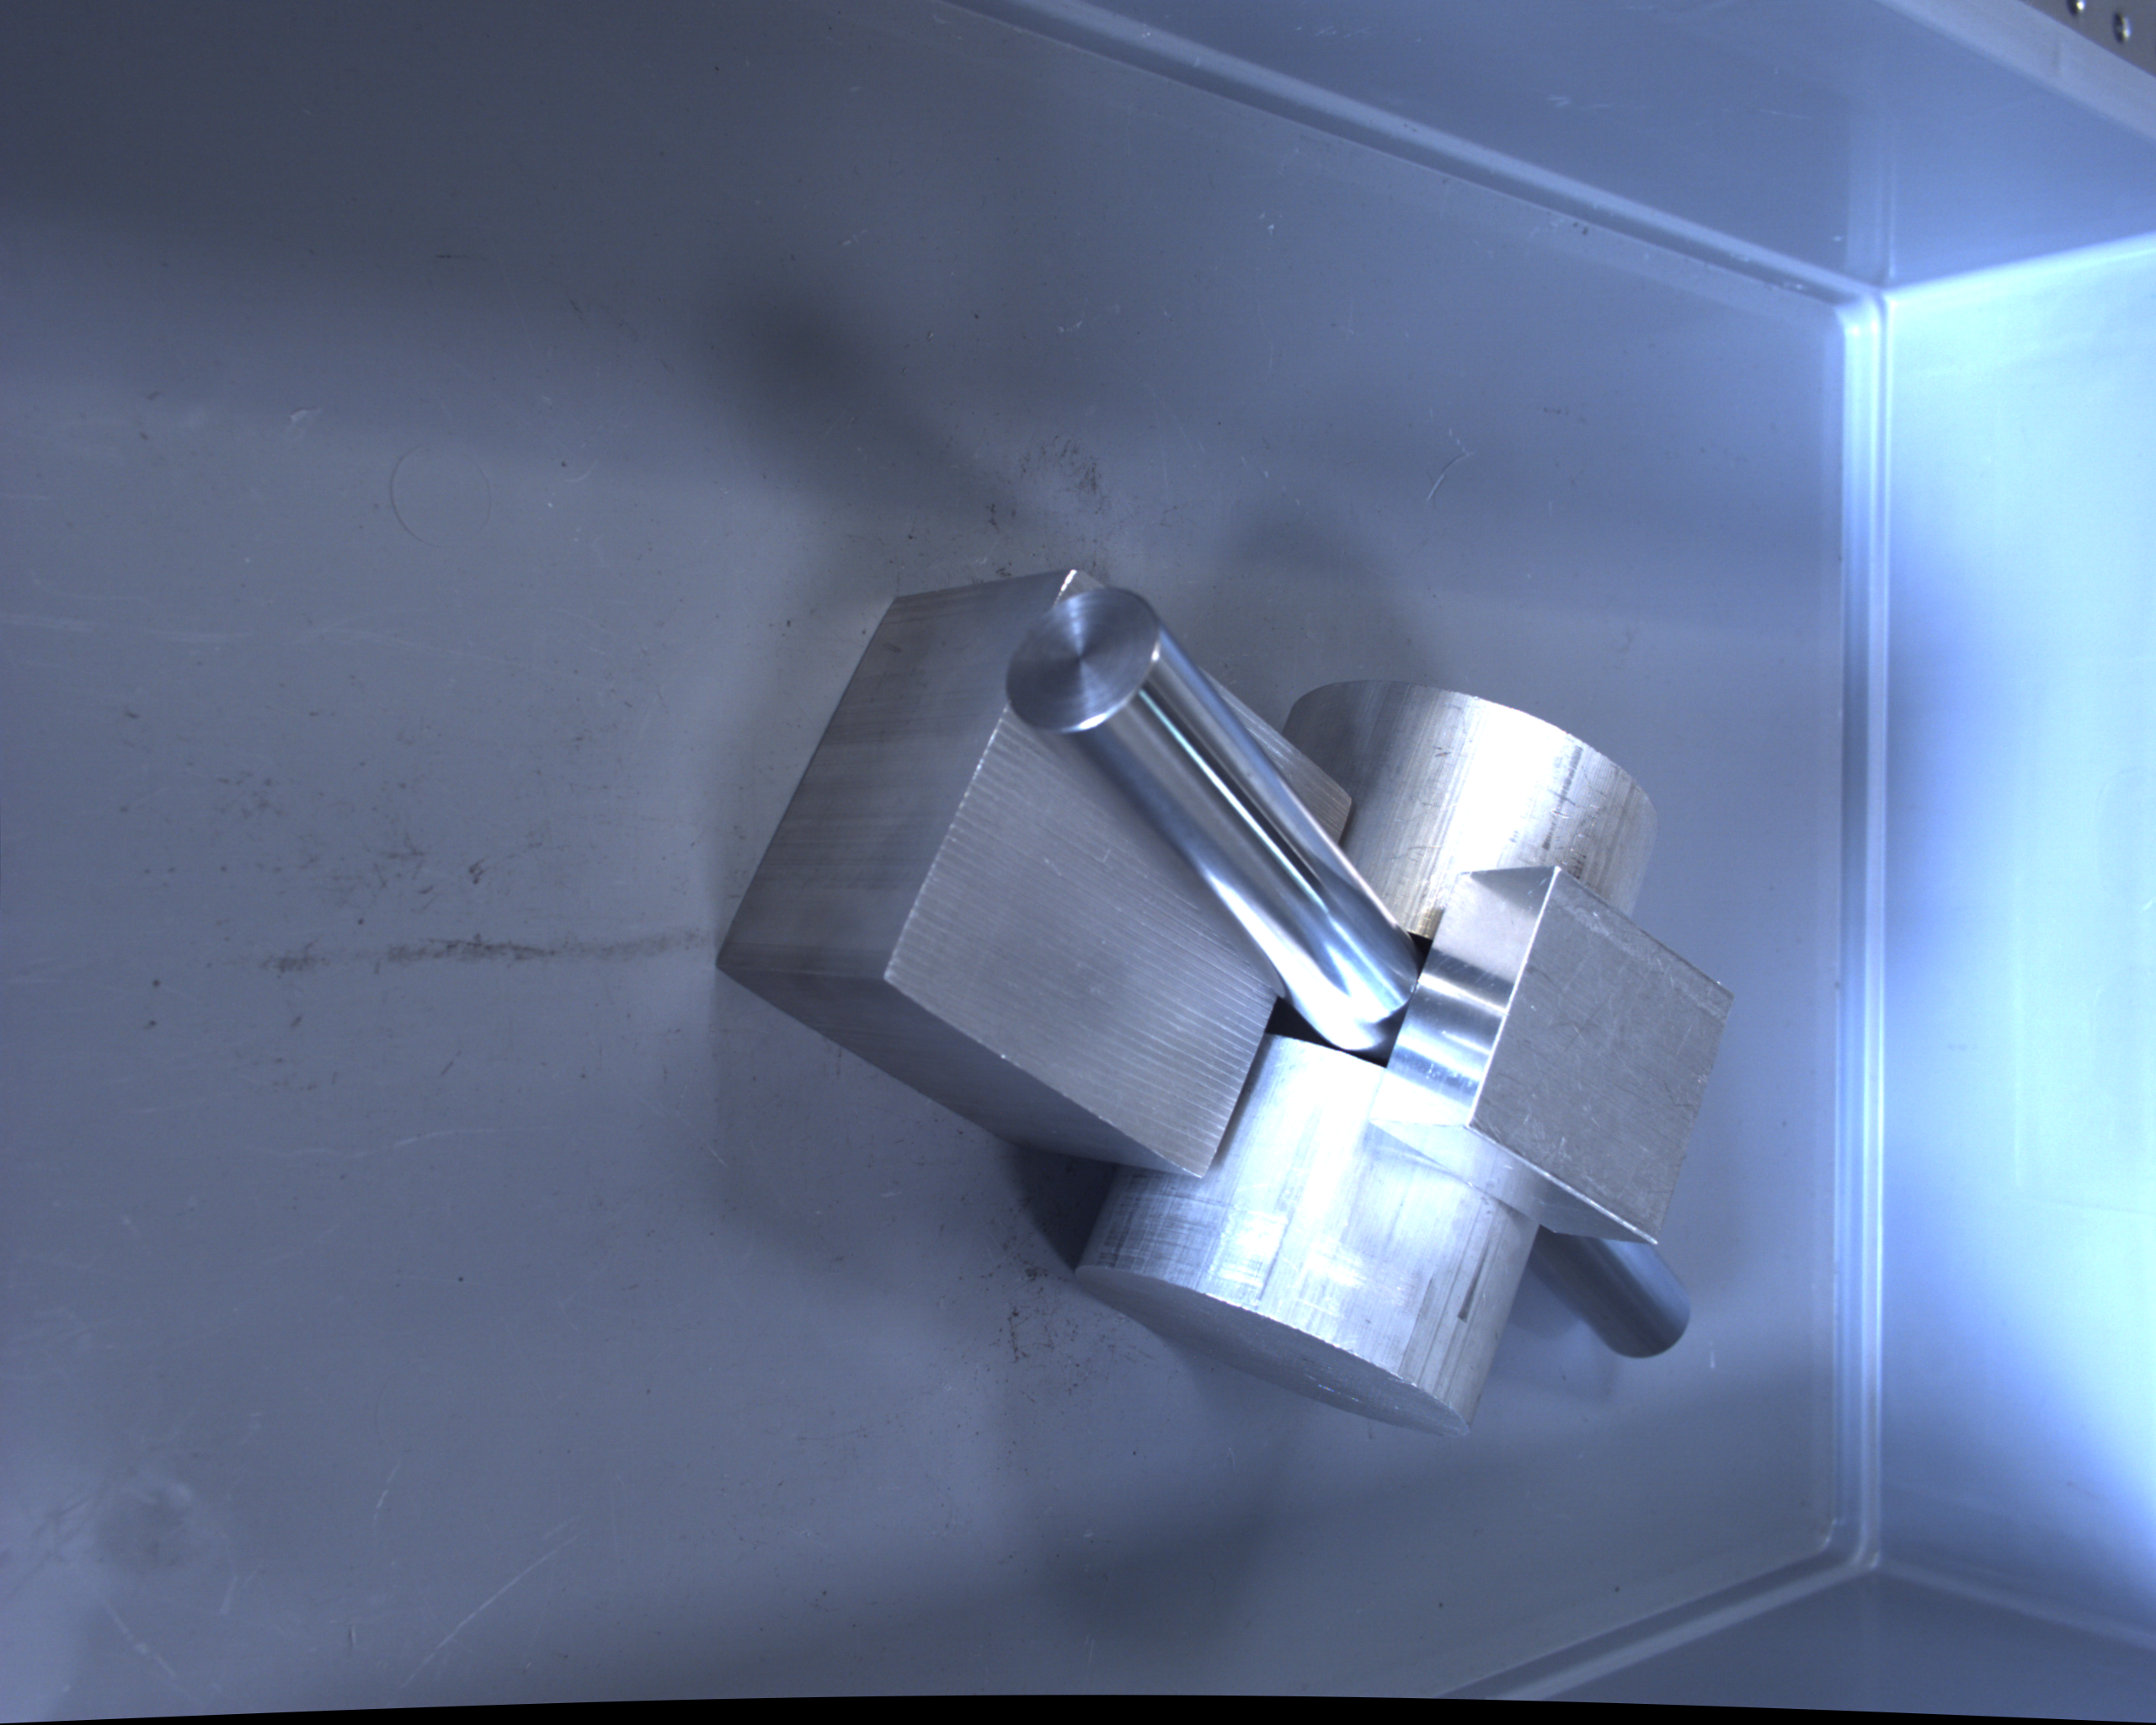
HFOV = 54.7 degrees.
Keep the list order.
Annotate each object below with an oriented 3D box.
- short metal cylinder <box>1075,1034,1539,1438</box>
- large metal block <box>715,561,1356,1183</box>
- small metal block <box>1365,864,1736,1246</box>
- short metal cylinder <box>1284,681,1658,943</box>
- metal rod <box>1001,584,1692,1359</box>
[{"bbox_3d":[0.046,0.073,0.408,0.080,0.080,0.050,37,67,-34],"label":"short metal cylinder"},{"bbox_3d":[-0.005,0.003,0.381,0.080,0.050,0.080,36,68,-34],"label":"large metal block"},{"bbox_3d":[0.085,0.035,0.374,0.050,0.025,0.050,32,70,-26],"label":"small metal block"},{"bbox_3d":[0.073,0.004,0.431,0.080,0.080,0.050,34,69,-35],"label":"short metal cylinder"},{"bbox_3d":[0.071,0.041,0.413,0.300,0.025,0.025,45,62,-48],"label":"metal rod"}]
